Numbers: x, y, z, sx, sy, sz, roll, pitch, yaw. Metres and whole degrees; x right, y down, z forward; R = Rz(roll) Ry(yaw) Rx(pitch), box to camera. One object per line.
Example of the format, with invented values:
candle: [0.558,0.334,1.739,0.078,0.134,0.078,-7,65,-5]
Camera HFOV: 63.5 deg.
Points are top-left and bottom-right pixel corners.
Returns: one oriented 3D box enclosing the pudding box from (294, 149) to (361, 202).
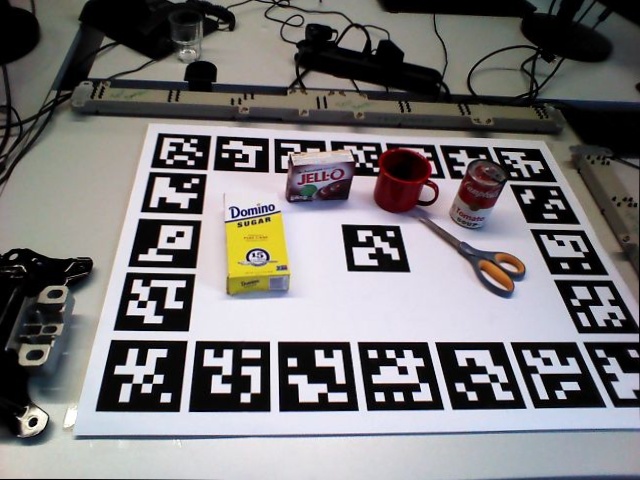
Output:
pudding box: [0.017,-0.110,0.878,0.114,0.090,0.038,-6,58,-12]

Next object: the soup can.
soup can: [0.282,-0.071,0.882,0.068,0.102,0.067,3,49,-4]

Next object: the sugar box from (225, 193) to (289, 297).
sugar box: [-0.099,0.003,0.808,0.093,0.045,0.175,-2,52,-6]

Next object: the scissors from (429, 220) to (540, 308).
scissors: [0.261,0.024,0.845,0.087,0.016,0.203,-40,65,-21]

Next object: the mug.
mug: [0.165,-0.102,0.898,0.093,0.082,0.117,-31,59,-25]
